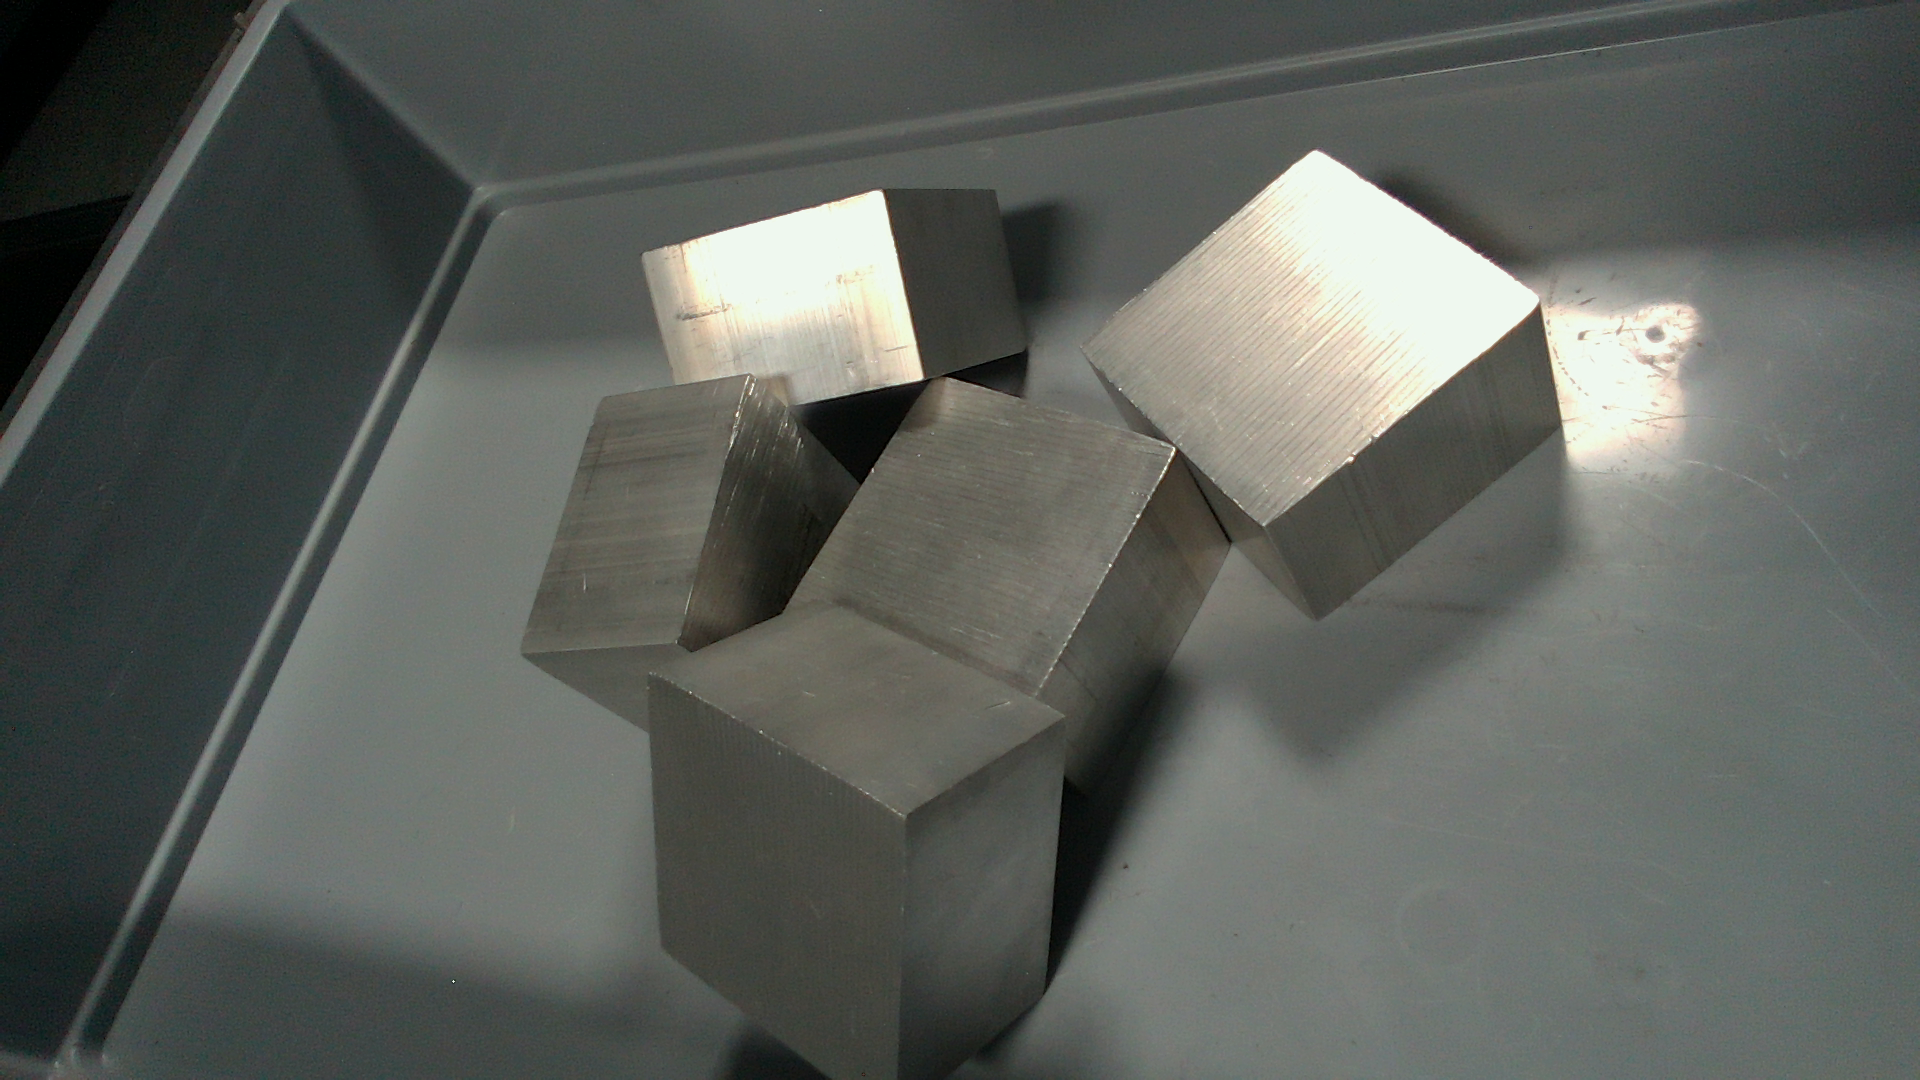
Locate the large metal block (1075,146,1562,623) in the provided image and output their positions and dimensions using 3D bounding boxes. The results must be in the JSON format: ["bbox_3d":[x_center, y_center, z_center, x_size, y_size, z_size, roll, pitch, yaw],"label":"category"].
[{"bbox_3d":[0.091,-0.041,0.352,0.080,0.050,0.080,-40,51,2],"label":"large metal block"}]

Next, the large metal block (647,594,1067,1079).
[{"bbox_3d":[-0.025,0.069,0.320,0.080,0.080,0.050,22,31,35],"label":"large metal block"}]

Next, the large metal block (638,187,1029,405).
[{"bbox_3d":[-0.034,-0.071,0.412,0.080,0.080,0.050,-8,100,25],"label":"large metal block"}]

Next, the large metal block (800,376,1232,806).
[{"bbox_3d":[0.013,0.011,0.364,0.080,0.050,0.080,21,73,36],"label":"large metal block"}]

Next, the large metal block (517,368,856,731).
[{"bbox_3d":[-0.067,0.011,0.387,0.050,0.080,0.080,-6,59,26],"label":"large metal block"}]
